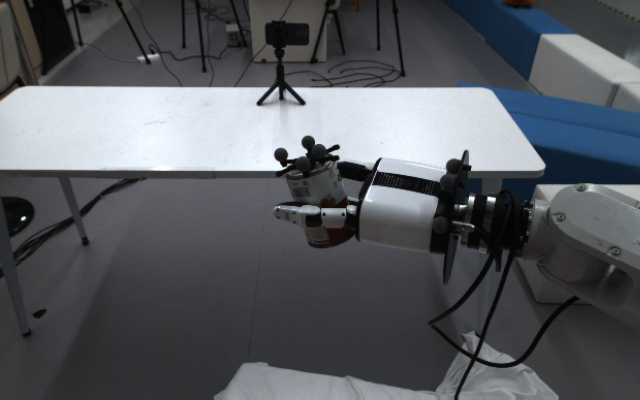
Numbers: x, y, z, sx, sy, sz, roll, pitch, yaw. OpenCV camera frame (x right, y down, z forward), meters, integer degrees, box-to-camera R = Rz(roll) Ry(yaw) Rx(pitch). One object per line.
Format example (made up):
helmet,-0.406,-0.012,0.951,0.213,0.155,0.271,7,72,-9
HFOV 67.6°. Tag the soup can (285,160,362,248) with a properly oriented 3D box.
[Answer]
soup can,0.003,0.001,0.612,0.067,0.101,0.067,-16,23,7
